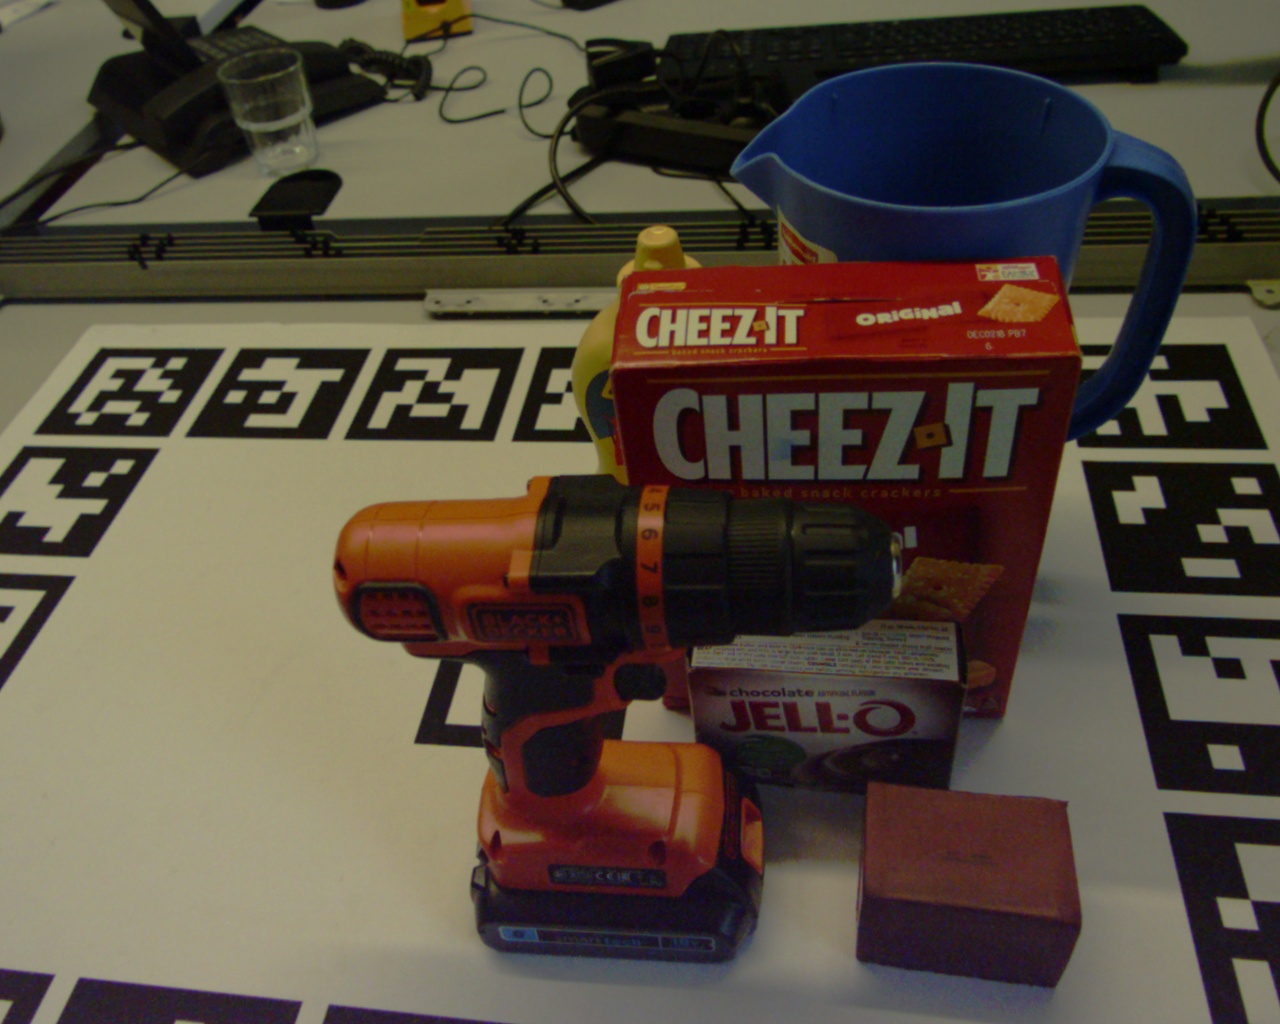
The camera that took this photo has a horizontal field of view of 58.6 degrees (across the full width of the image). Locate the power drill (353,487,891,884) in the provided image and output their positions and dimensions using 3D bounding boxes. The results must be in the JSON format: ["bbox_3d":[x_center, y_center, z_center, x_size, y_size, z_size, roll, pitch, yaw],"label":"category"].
[{"bbox_3d":[-0.003,0.071,0.437,0.185,0.186,0.057,0,42,8],"label":"power drill"}]

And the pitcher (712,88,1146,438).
[{"bbox_3d":[0.137,-0.073,0.570,0.190,0.241,0.133,4,46,15],"label":"pitcher"}]

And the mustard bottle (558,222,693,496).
[{"bbox_3d":[0.007,-0.067,0.601,0.097,0.190,0.058,11,49,19],"label":"mustard bottle"}]

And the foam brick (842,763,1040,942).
[{"bbox_3d":[0.125,0.145,0.485,0.078,0.051,0.053,2,48,11],"label":"foam brick"}]

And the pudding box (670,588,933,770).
[{"bbox_3d":[0.072,0.075,0.517,0.114,0.089,0.038,0,44,12],"label":"pudding box"}]

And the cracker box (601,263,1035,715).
[{"bbox_3d":[0.080,0.003,0.511,0.165,0.212,0.072,-2,43,10],"label":"cracker box"}]
